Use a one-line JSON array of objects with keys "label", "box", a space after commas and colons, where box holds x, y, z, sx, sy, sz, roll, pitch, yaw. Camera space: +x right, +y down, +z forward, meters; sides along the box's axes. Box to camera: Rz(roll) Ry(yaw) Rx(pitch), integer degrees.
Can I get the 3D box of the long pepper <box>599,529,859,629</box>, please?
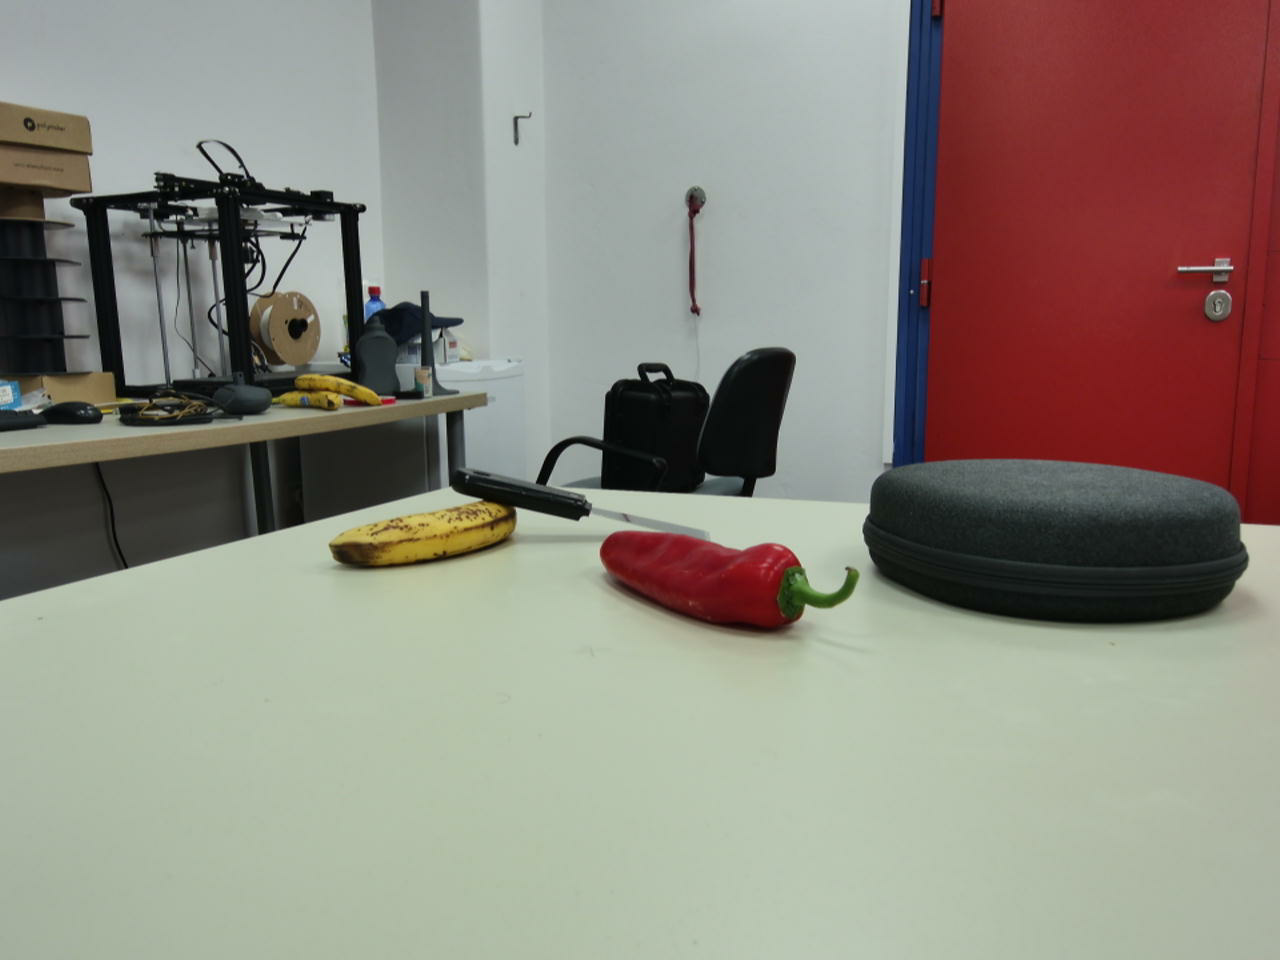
[{"label": "long pepper", "box": [0.032, 0.049, 0.547, 0.050, 0.043, 0.211, -4, 7, -34]}]
